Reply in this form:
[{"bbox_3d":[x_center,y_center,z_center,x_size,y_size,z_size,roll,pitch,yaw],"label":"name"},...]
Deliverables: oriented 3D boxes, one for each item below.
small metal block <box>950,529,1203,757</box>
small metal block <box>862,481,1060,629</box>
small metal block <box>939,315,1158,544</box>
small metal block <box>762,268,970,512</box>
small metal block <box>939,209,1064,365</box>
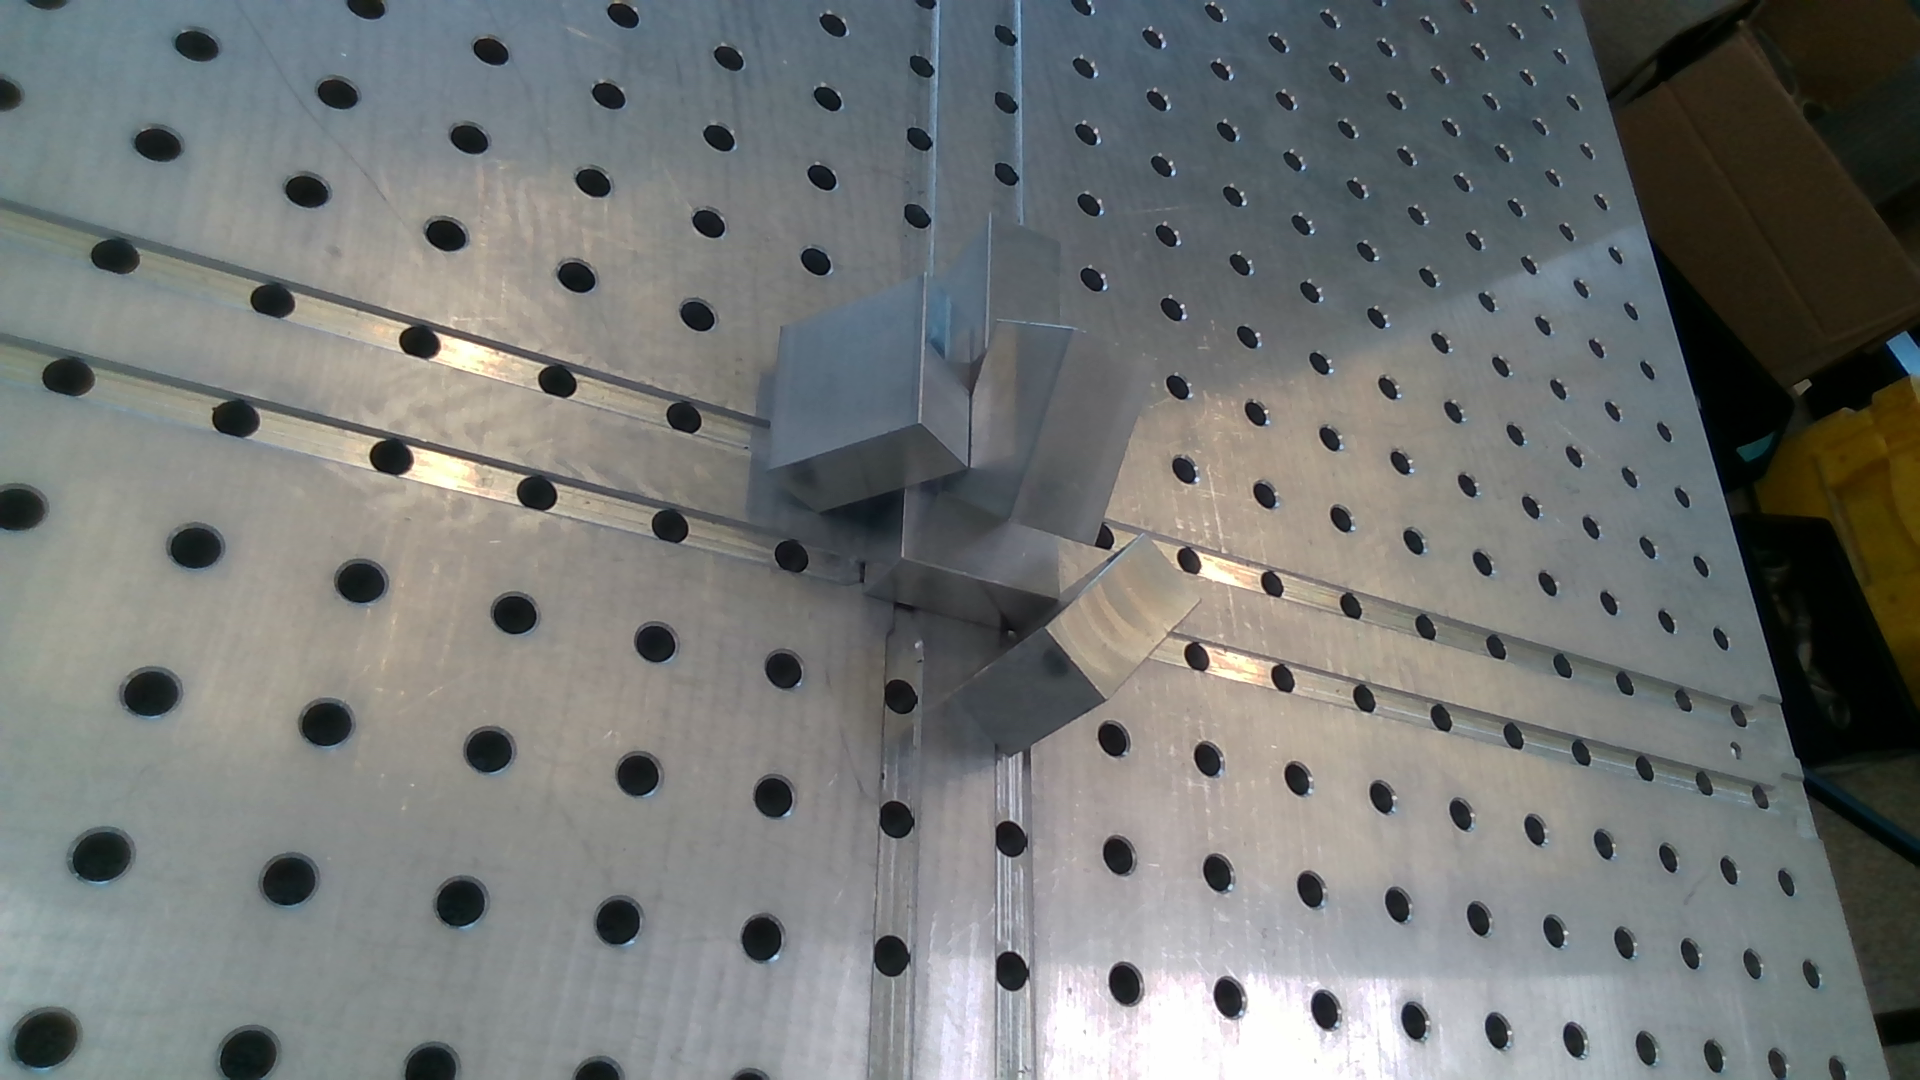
[{"bbox_3d":[0.032,0.029,0.384,0.025,0.050,0.050,50,51,0],"label":"small metal block"},{"bbox_3d":[0.001,-0.006,0.400,0.050,0.025,0.050,16,59,-24],"label":"small metal block"},{"bbox_3d":[0.022,-0.031,0.364,0.025,0.050,0.050,16,95,-23],"label":"small metal block"},{"bbox_3d":[-0.025,-0.041,0.383,0.025,0.050,0.050,41,42,-49],"label":"small metal block"},{"bbox_3d":[0.007,-0.062,0.417,0.025,0.050,0.050,15,57,-24],"label":"small metal block"}]
